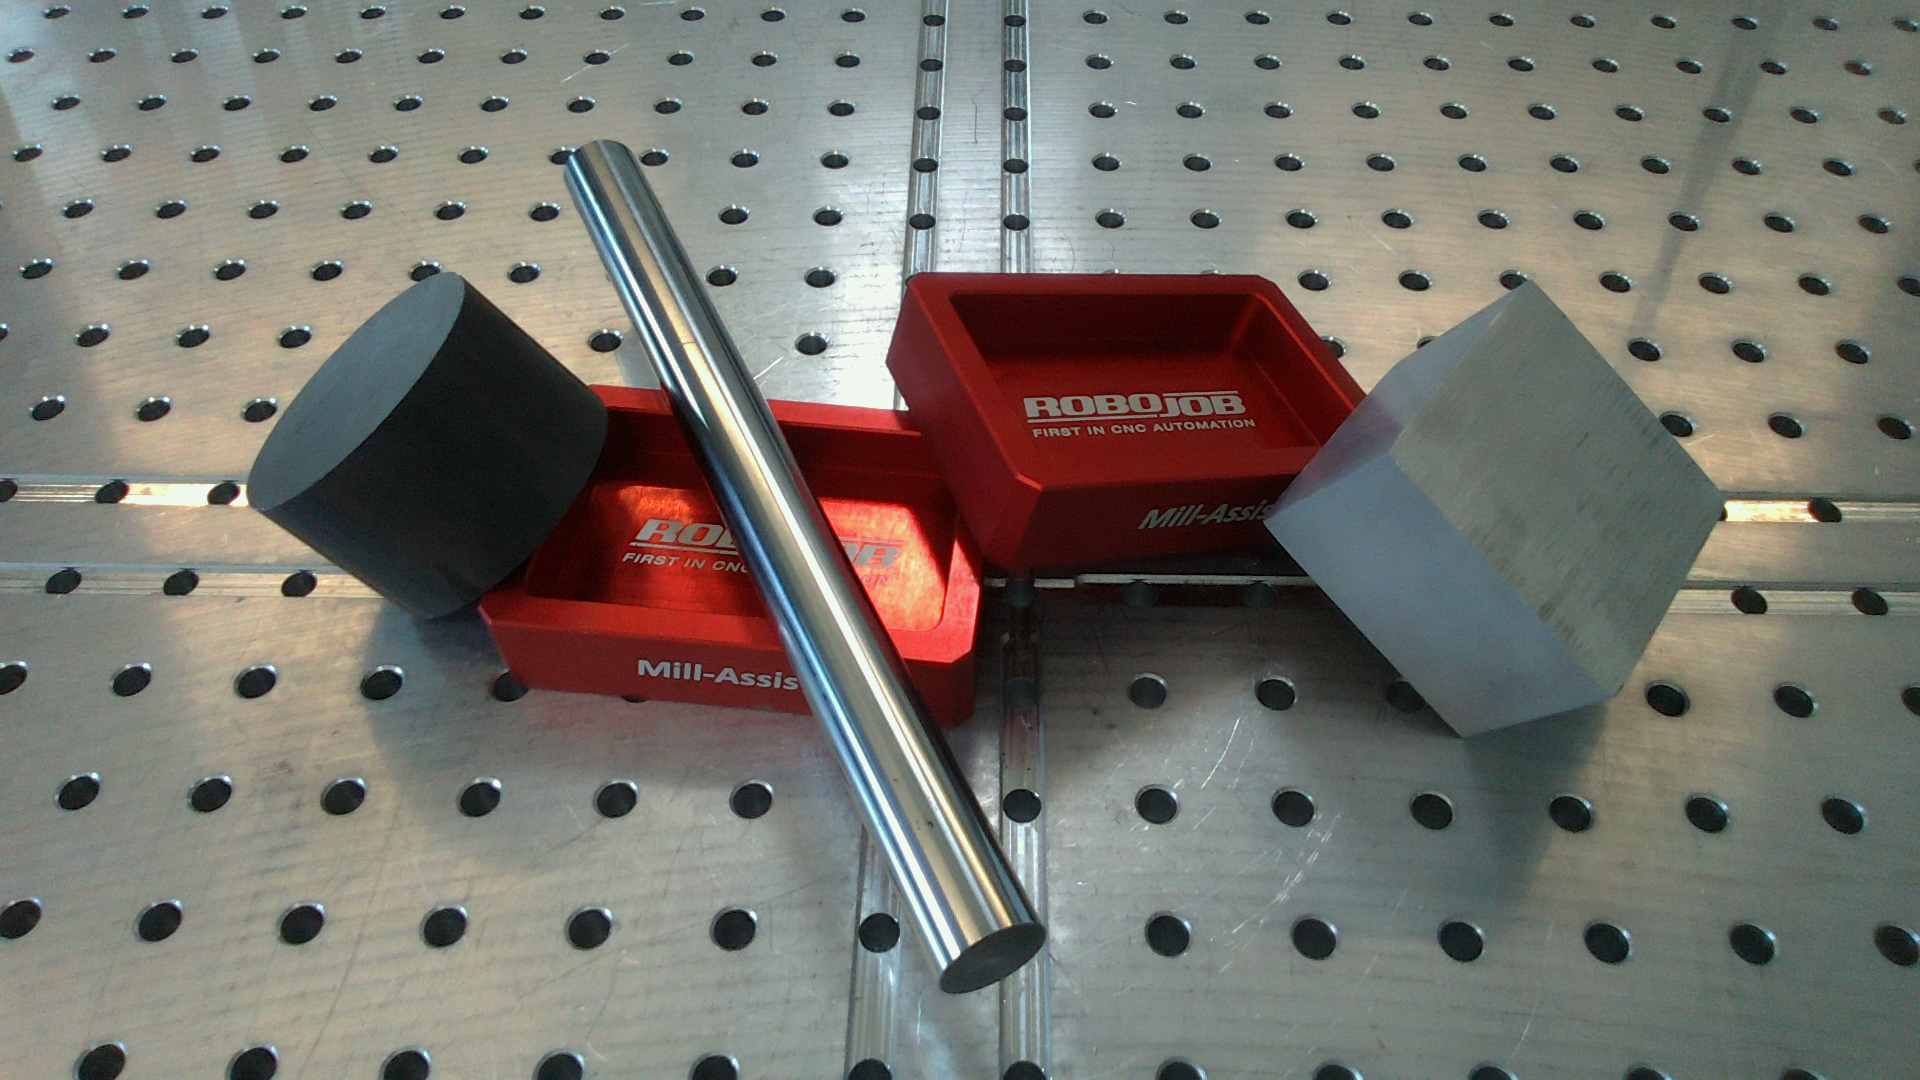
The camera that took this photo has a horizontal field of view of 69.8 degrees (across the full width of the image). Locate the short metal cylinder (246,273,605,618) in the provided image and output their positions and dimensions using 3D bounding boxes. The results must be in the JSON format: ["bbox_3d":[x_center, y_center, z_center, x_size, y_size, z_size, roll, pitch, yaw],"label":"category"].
[{"bbox_3d":[-0.145,-0.026,0.376,0.080,0.050,0.080,-26,40,24],"label":"short metal cylinder"}]

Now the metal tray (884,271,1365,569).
[{"bbox_3d":[0.054,-0.039,0.400,0.130,0.030,0.090,-5,48,-26],"label":"metal tray"}]

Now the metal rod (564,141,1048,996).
[{"bbox_3d":[-0.056,-0.017,0.370,0.025,0.025,0.299,-20,53,-16],"label":"metal rod"}]

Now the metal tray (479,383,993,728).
[{"bbox_3d":[-0.056,0.002,0.389,0.130,0.030,0.090,5,50,4],"label":"metal tray"}]

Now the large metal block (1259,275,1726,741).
[{"bbox_3d":[0.140,-0.008,0.362,0.080,0.050,0.080,47,60,-3],"label":"large metal block"}]
